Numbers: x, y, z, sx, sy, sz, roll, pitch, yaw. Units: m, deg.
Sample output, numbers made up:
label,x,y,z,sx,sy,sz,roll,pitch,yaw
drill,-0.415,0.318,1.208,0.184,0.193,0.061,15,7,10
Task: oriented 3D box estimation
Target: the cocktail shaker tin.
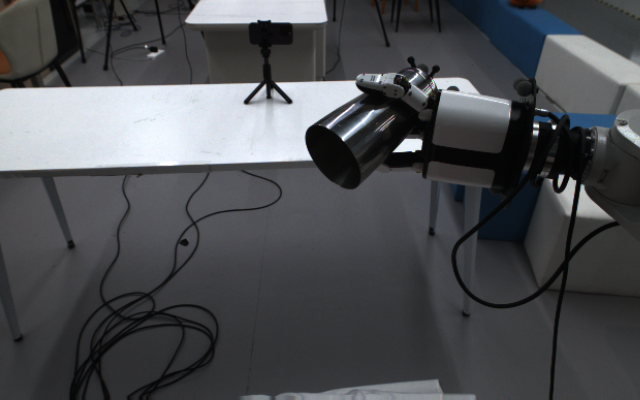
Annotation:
label,x,y,z,sx,sy,sz,roll,pitch,yaw
cocktail shaker tin,0.074,-0.103,0.615,0.170,0.093,0.093,-39,50,-24
